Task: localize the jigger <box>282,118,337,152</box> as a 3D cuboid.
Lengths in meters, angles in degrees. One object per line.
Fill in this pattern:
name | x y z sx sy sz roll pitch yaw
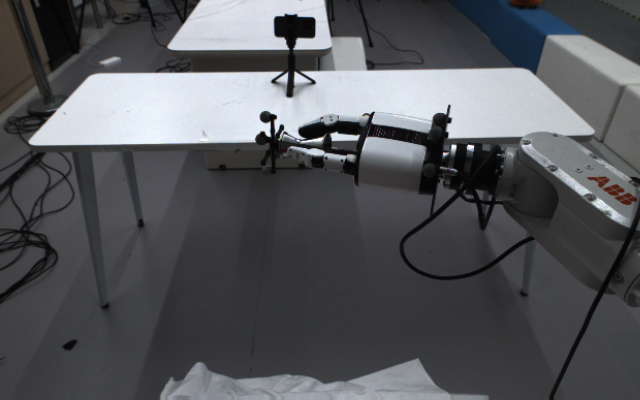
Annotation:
jigger | -0.015 -0.081 0.704 0.071 0.043 0.043 5 34 16
